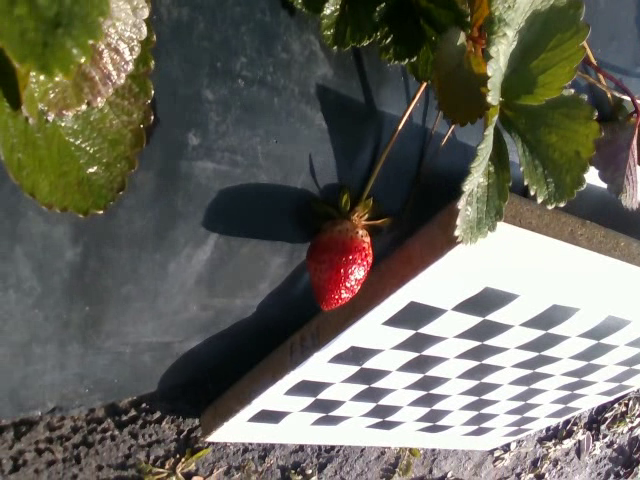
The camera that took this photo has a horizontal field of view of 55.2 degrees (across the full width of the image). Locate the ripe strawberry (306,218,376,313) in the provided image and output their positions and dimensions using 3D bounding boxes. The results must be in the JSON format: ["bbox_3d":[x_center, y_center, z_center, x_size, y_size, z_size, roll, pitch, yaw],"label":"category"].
[{"bbox_3d":[0.007,0.010,0.223,0.035,0.037,0.033,13,-2,-30],"label":"ripe strawberry"}]
